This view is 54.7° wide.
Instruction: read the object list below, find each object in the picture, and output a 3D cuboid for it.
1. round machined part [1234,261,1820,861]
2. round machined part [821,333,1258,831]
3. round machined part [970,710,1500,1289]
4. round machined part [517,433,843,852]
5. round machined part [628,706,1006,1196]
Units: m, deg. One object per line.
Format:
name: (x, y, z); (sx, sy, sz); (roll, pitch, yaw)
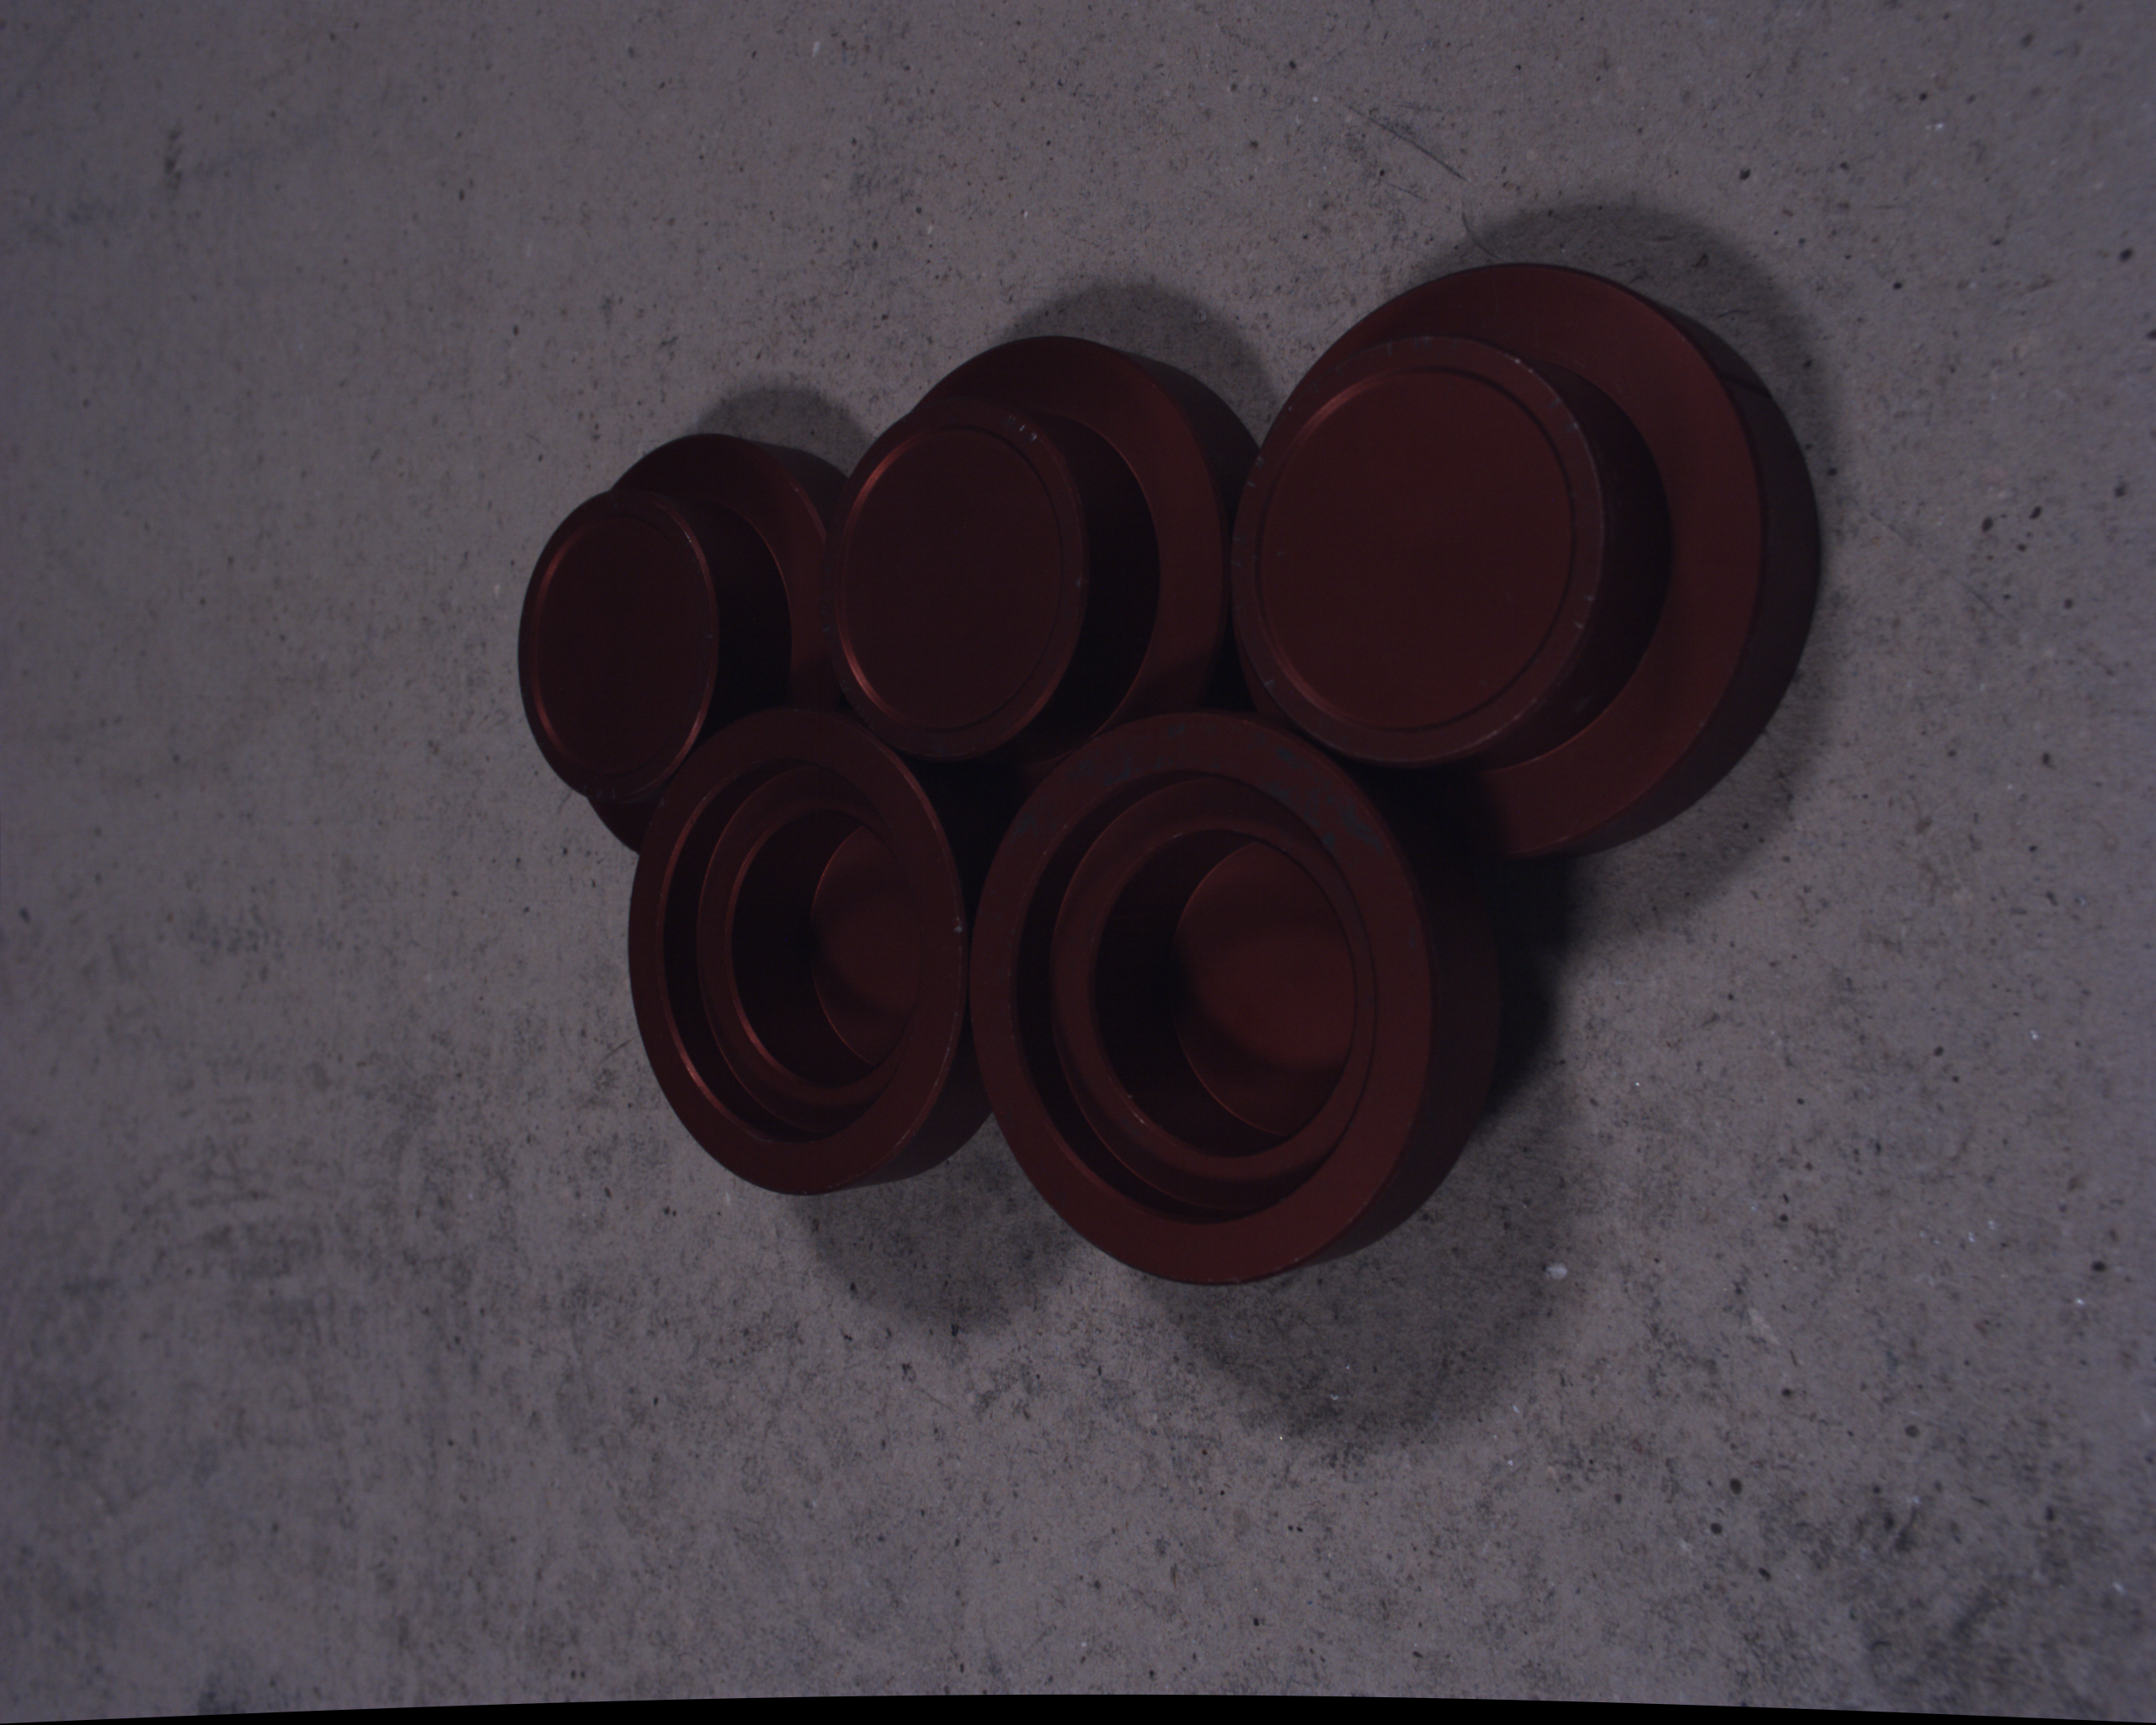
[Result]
round machined part: (0.065, -0.049, 0.341); (0.098, 0.042, 0.097); (0, 90, 39)
round machined part: (-0.011, -0.053, 0.403); (0.098, 0.042, 0.097); (0, 90, 39)
round machined part: (0.031, 0.023, 0.368); (0.098, 0.042, 0.097); (0, 90, 39)
round machined part: (-0.087, -0.047, 0.465); (0.098, 0.042, 0.097); (0, 90, 39)
round machined part: (-0.045, 0.017, 0.430); (0.098, 0.042, 0.097); (0, 90, 39)
